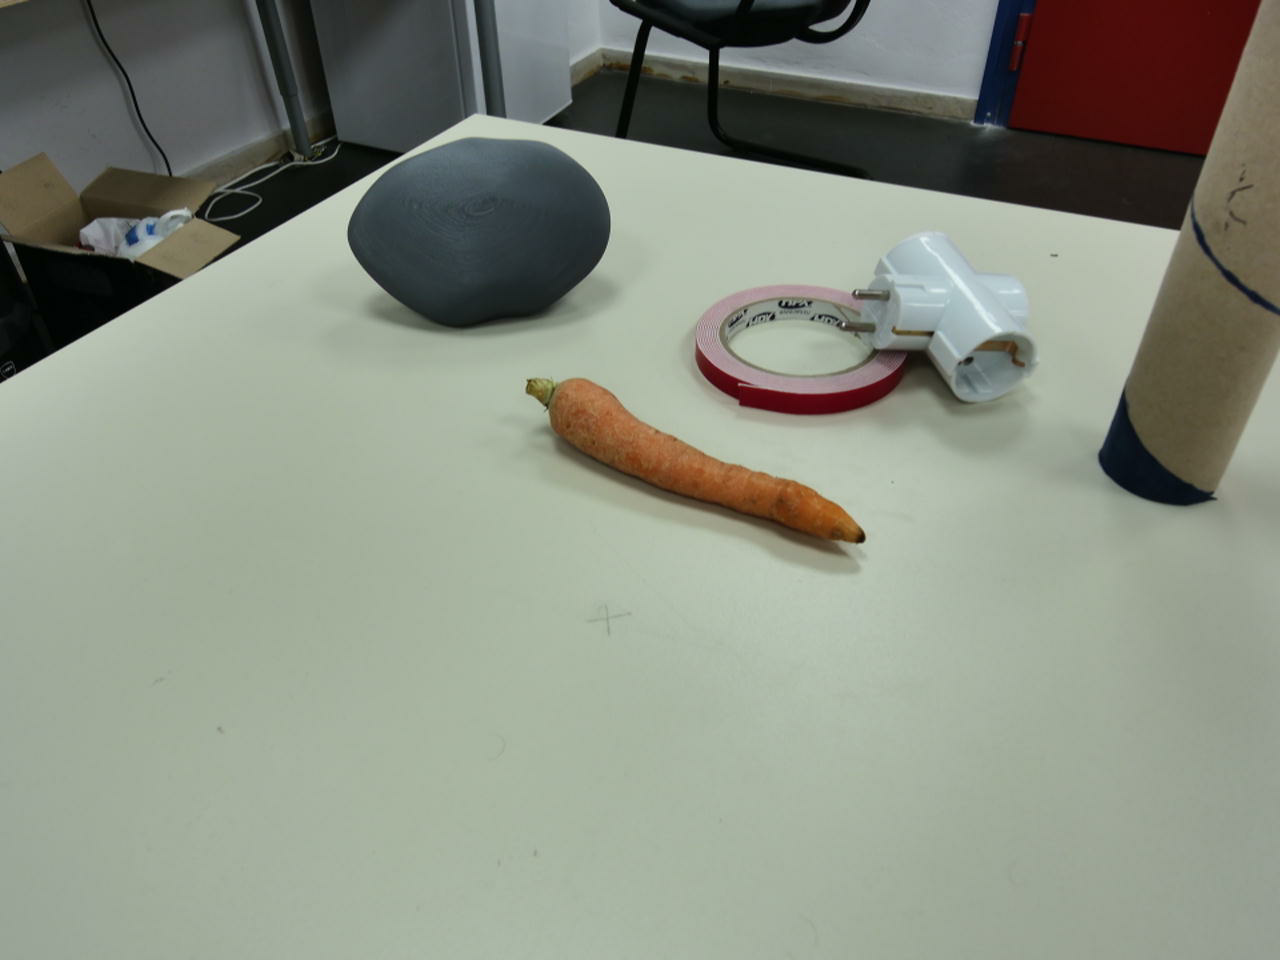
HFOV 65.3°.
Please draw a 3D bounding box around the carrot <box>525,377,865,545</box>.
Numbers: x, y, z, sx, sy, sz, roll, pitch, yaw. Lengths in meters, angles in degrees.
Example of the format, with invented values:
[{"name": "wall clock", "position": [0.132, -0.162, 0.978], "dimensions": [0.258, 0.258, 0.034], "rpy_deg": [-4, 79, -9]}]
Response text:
[{"name": "carrot", "position": [0.019, -0.010, 0.440], "dimensions": [0.173, 0.032, 0.030], "rpy_deg": [24, 43, 28]}]
